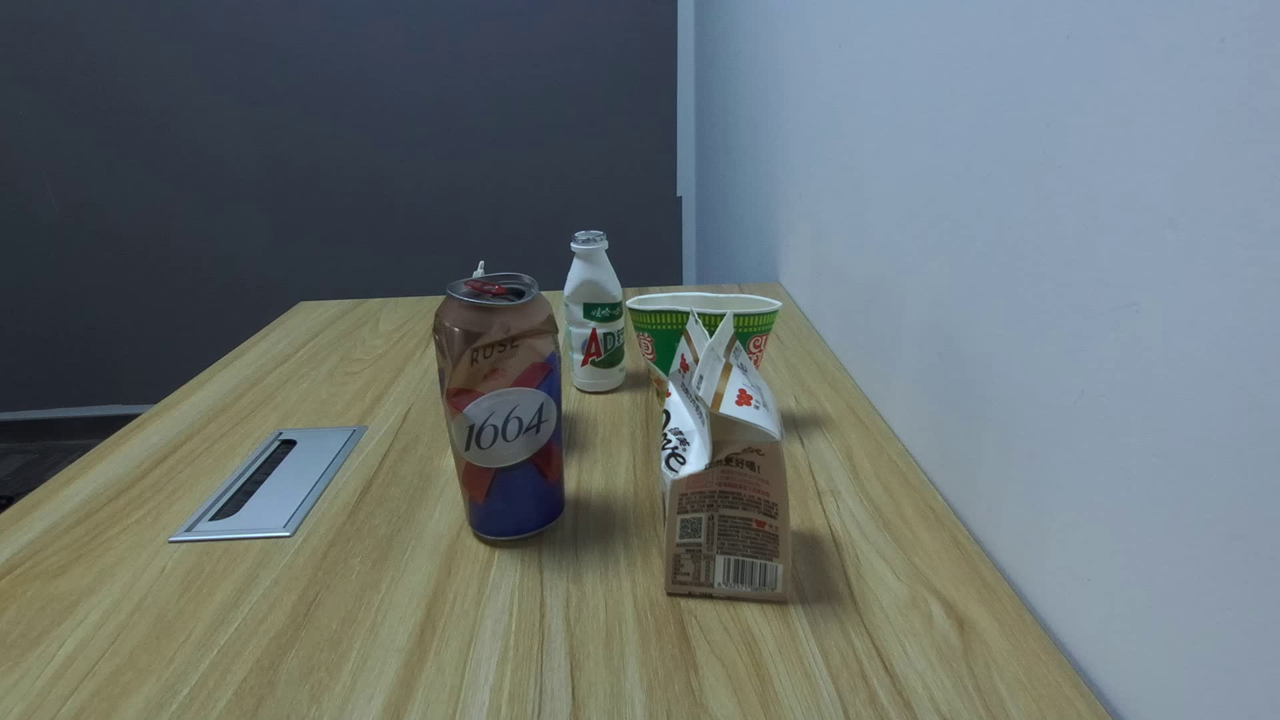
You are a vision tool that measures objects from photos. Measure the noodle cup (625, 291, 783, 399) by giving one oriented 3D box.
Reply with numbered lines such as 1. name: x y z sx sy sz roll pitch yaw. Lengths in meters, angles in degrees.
1. noodle cup: 0.052 -0.001 0.592 0.114 0.111 0.070 12 28 30

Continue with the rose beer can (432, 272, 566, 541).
1. rose beer can: -0.086 0.033 0.452 0.076 0.167 0.065 -9 25 -23

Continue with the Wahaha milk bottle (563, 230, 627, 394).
1. Wahaha milk bottle: -0.042 -0.044 0.658 0.056 0.148 0.056 -1 21 1

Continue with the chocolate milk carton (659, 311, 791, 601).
1. chocolate milk carton: 0.048 0.051 0.402 0.073 0.156 0.076 -1 23 10
